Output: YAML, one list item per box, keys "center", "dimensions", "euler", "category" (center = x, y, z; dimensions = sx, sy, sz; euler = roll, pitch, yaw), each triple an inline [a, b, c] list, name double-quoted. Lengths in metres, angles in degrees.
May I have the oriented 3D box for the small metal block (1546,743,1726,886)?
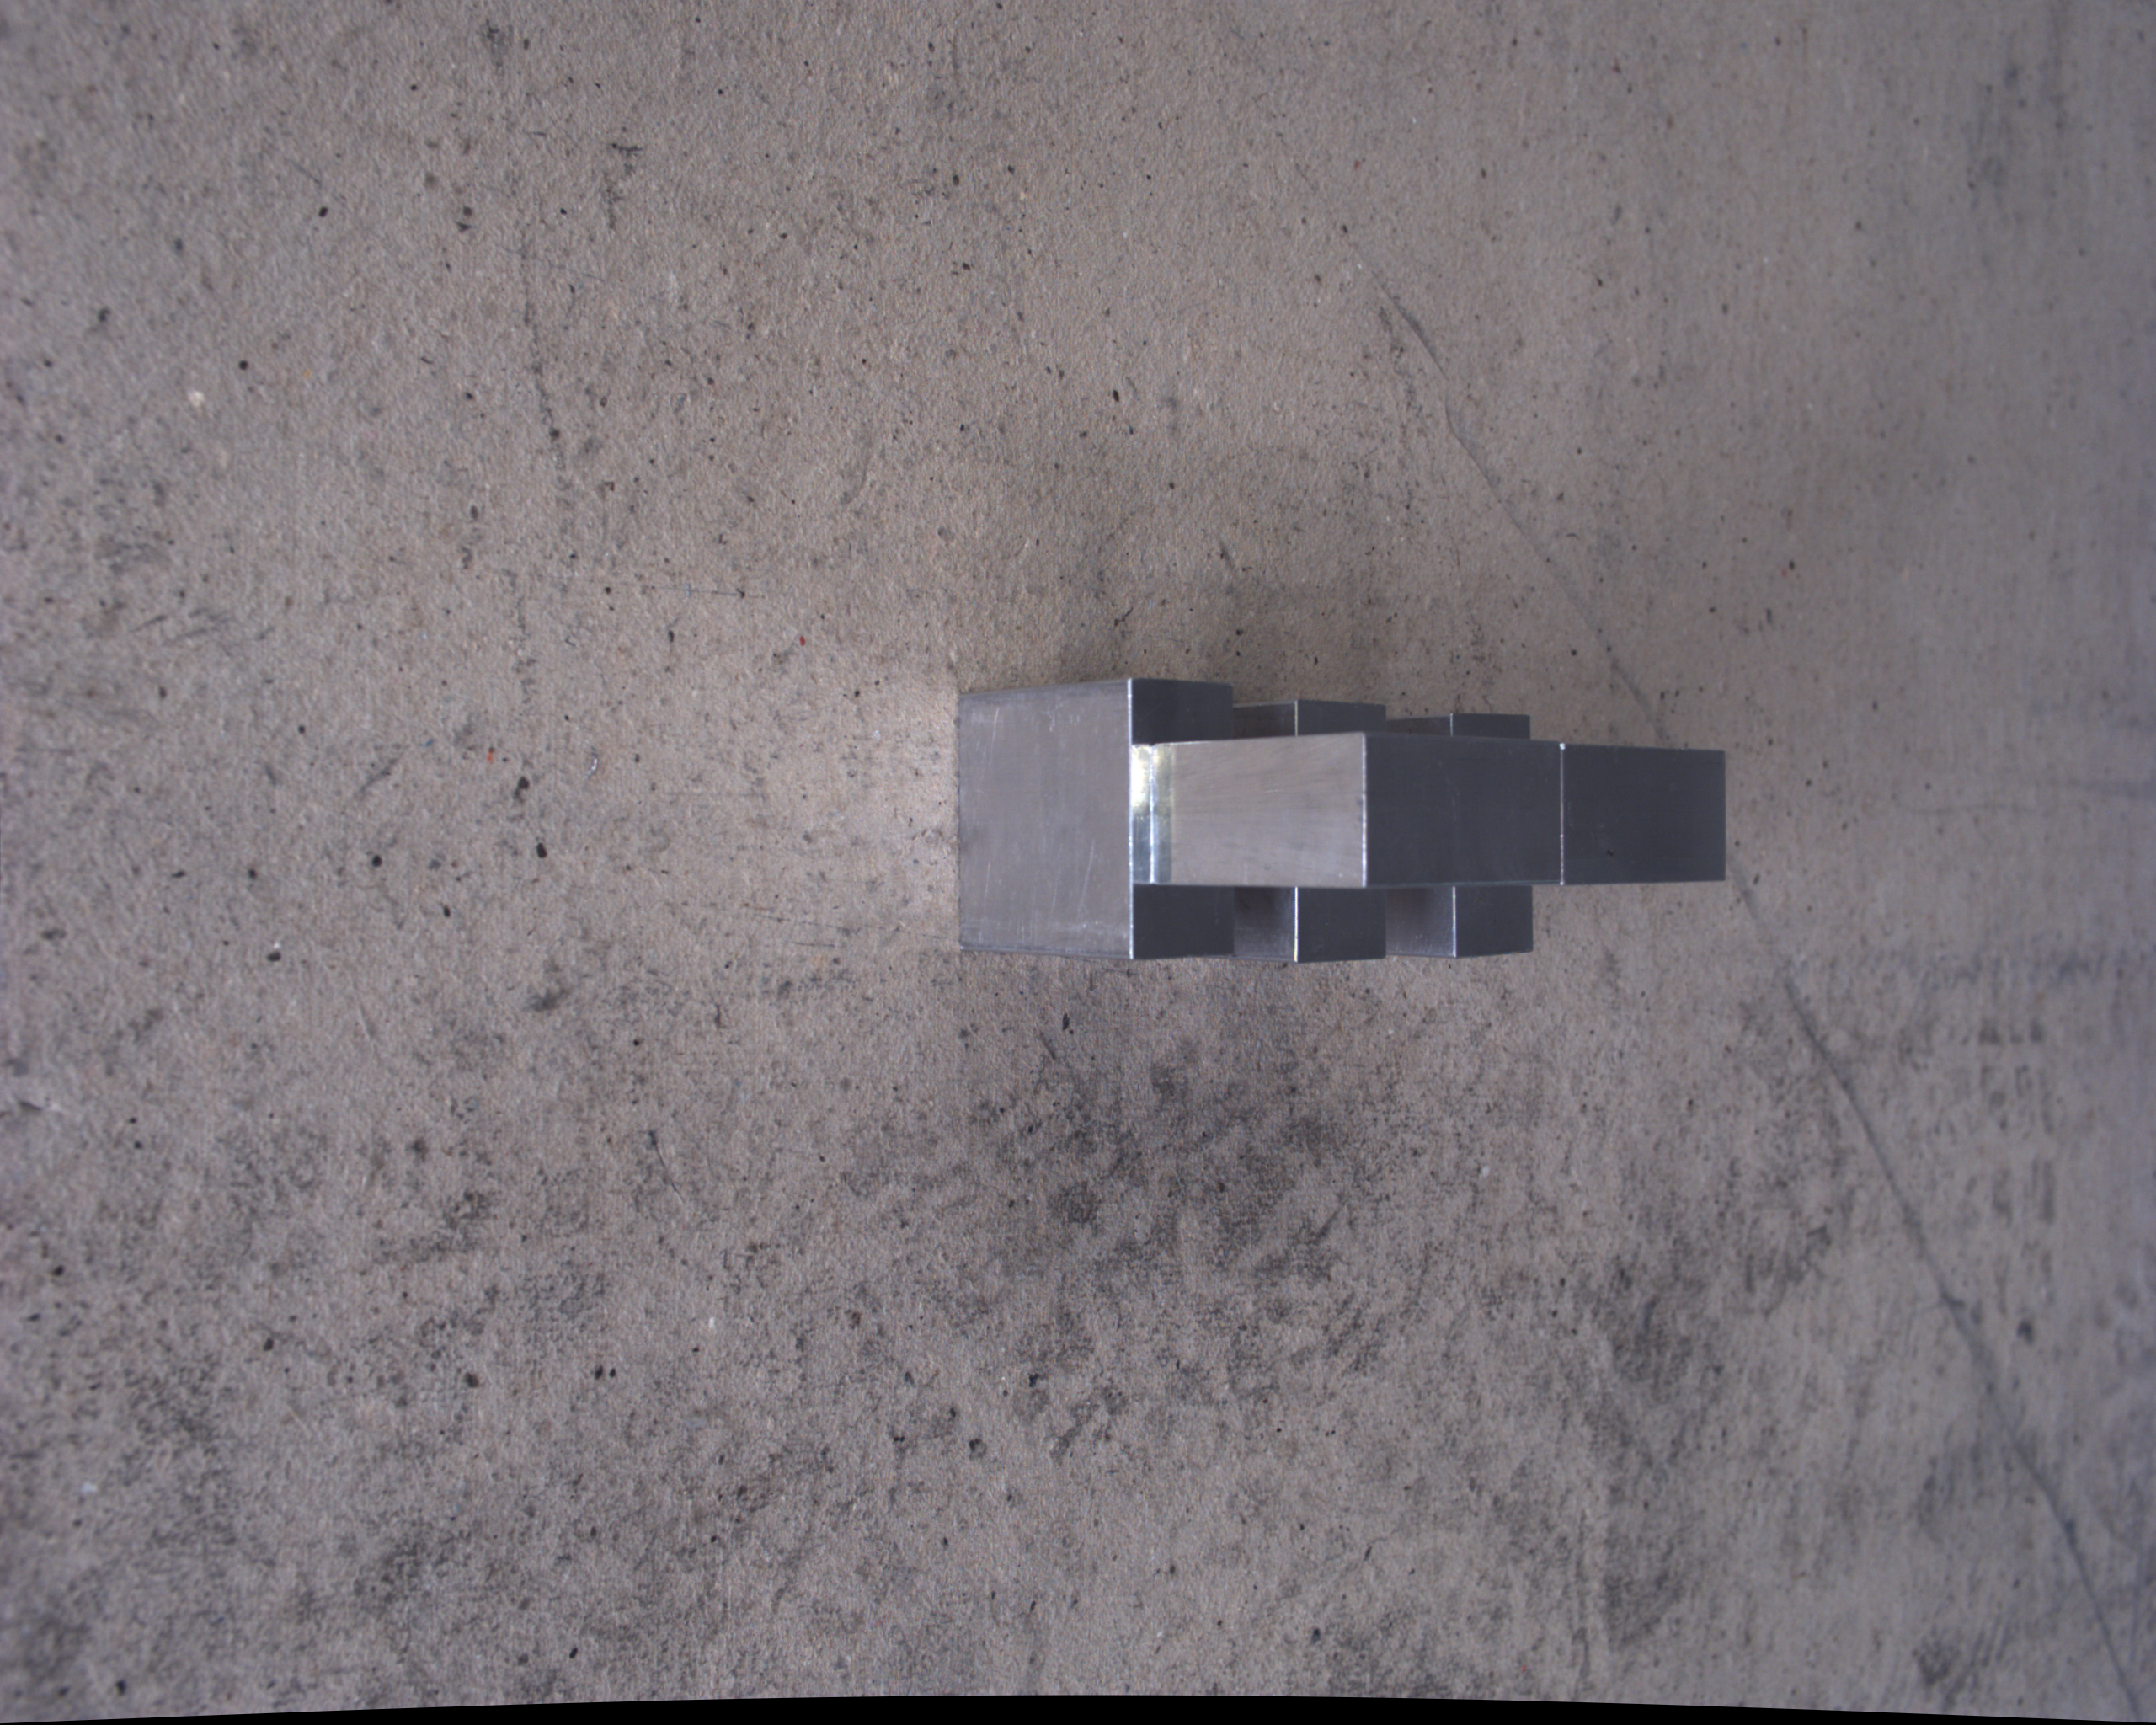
- center: [0.087, -0.009, 0.397]
  dimensions: [0.050, 0.050, 0.025]
  euler: [-1, 91, -40]
  category: "small metal block"

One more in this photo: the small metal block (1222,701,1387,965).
- center: [0.034, -0.006, 0.419]
  dimensions: [0.025, 0.050, 0.050]
  euler: [-2, 91, -40]
  category: "small metal block"

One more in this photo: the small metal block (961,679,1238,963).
- center: [0.003, -0.007, 0.392]
  dimensions: [0.025, 0.050, 0.050]
  euler: [-1, 90, -40]
  category: "small metal block"

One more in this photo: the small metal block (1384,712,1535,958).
- center: [0.070, -0.006, 0.448]
  dimensions: [0.025, 0.050, 0.050]
  euler: [-2, 91, -40]
  category: "small metal block"

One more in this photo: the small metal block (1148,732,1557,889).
- center: [0.048, -0.009, 0.366]
  dimensions: [0.050, 0.050, 0.025]
  euler: [-1, 91, -40]
  category: "small metal block"
